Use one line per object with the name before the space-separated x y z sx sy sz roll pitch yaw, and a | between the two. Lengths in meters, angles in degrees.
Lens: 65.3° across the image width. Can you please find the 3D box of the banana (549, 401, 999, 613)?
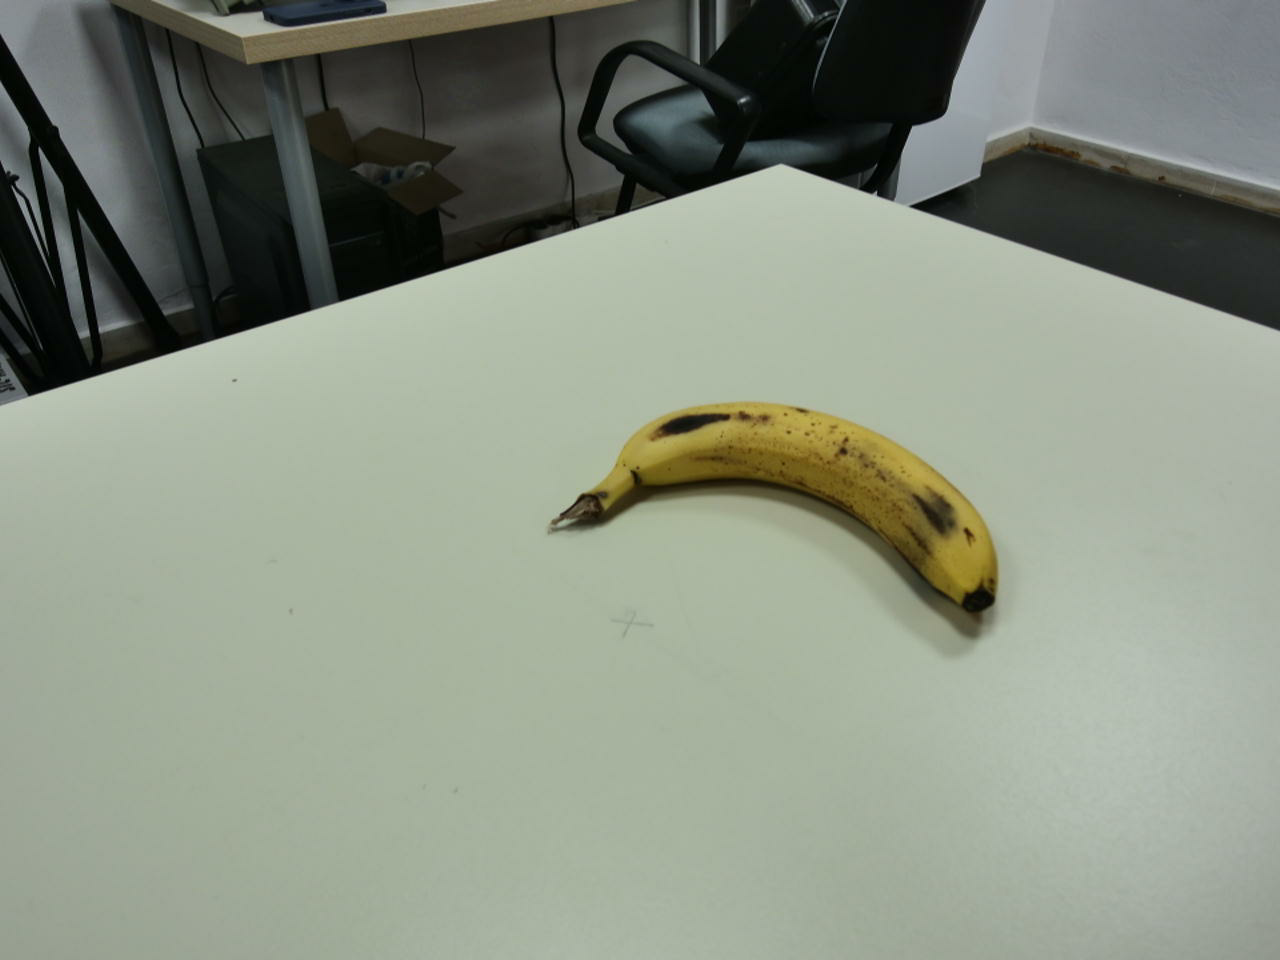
banana | 0.070 0.003 0.449 0.186 0.038 0.097 15 37 21
